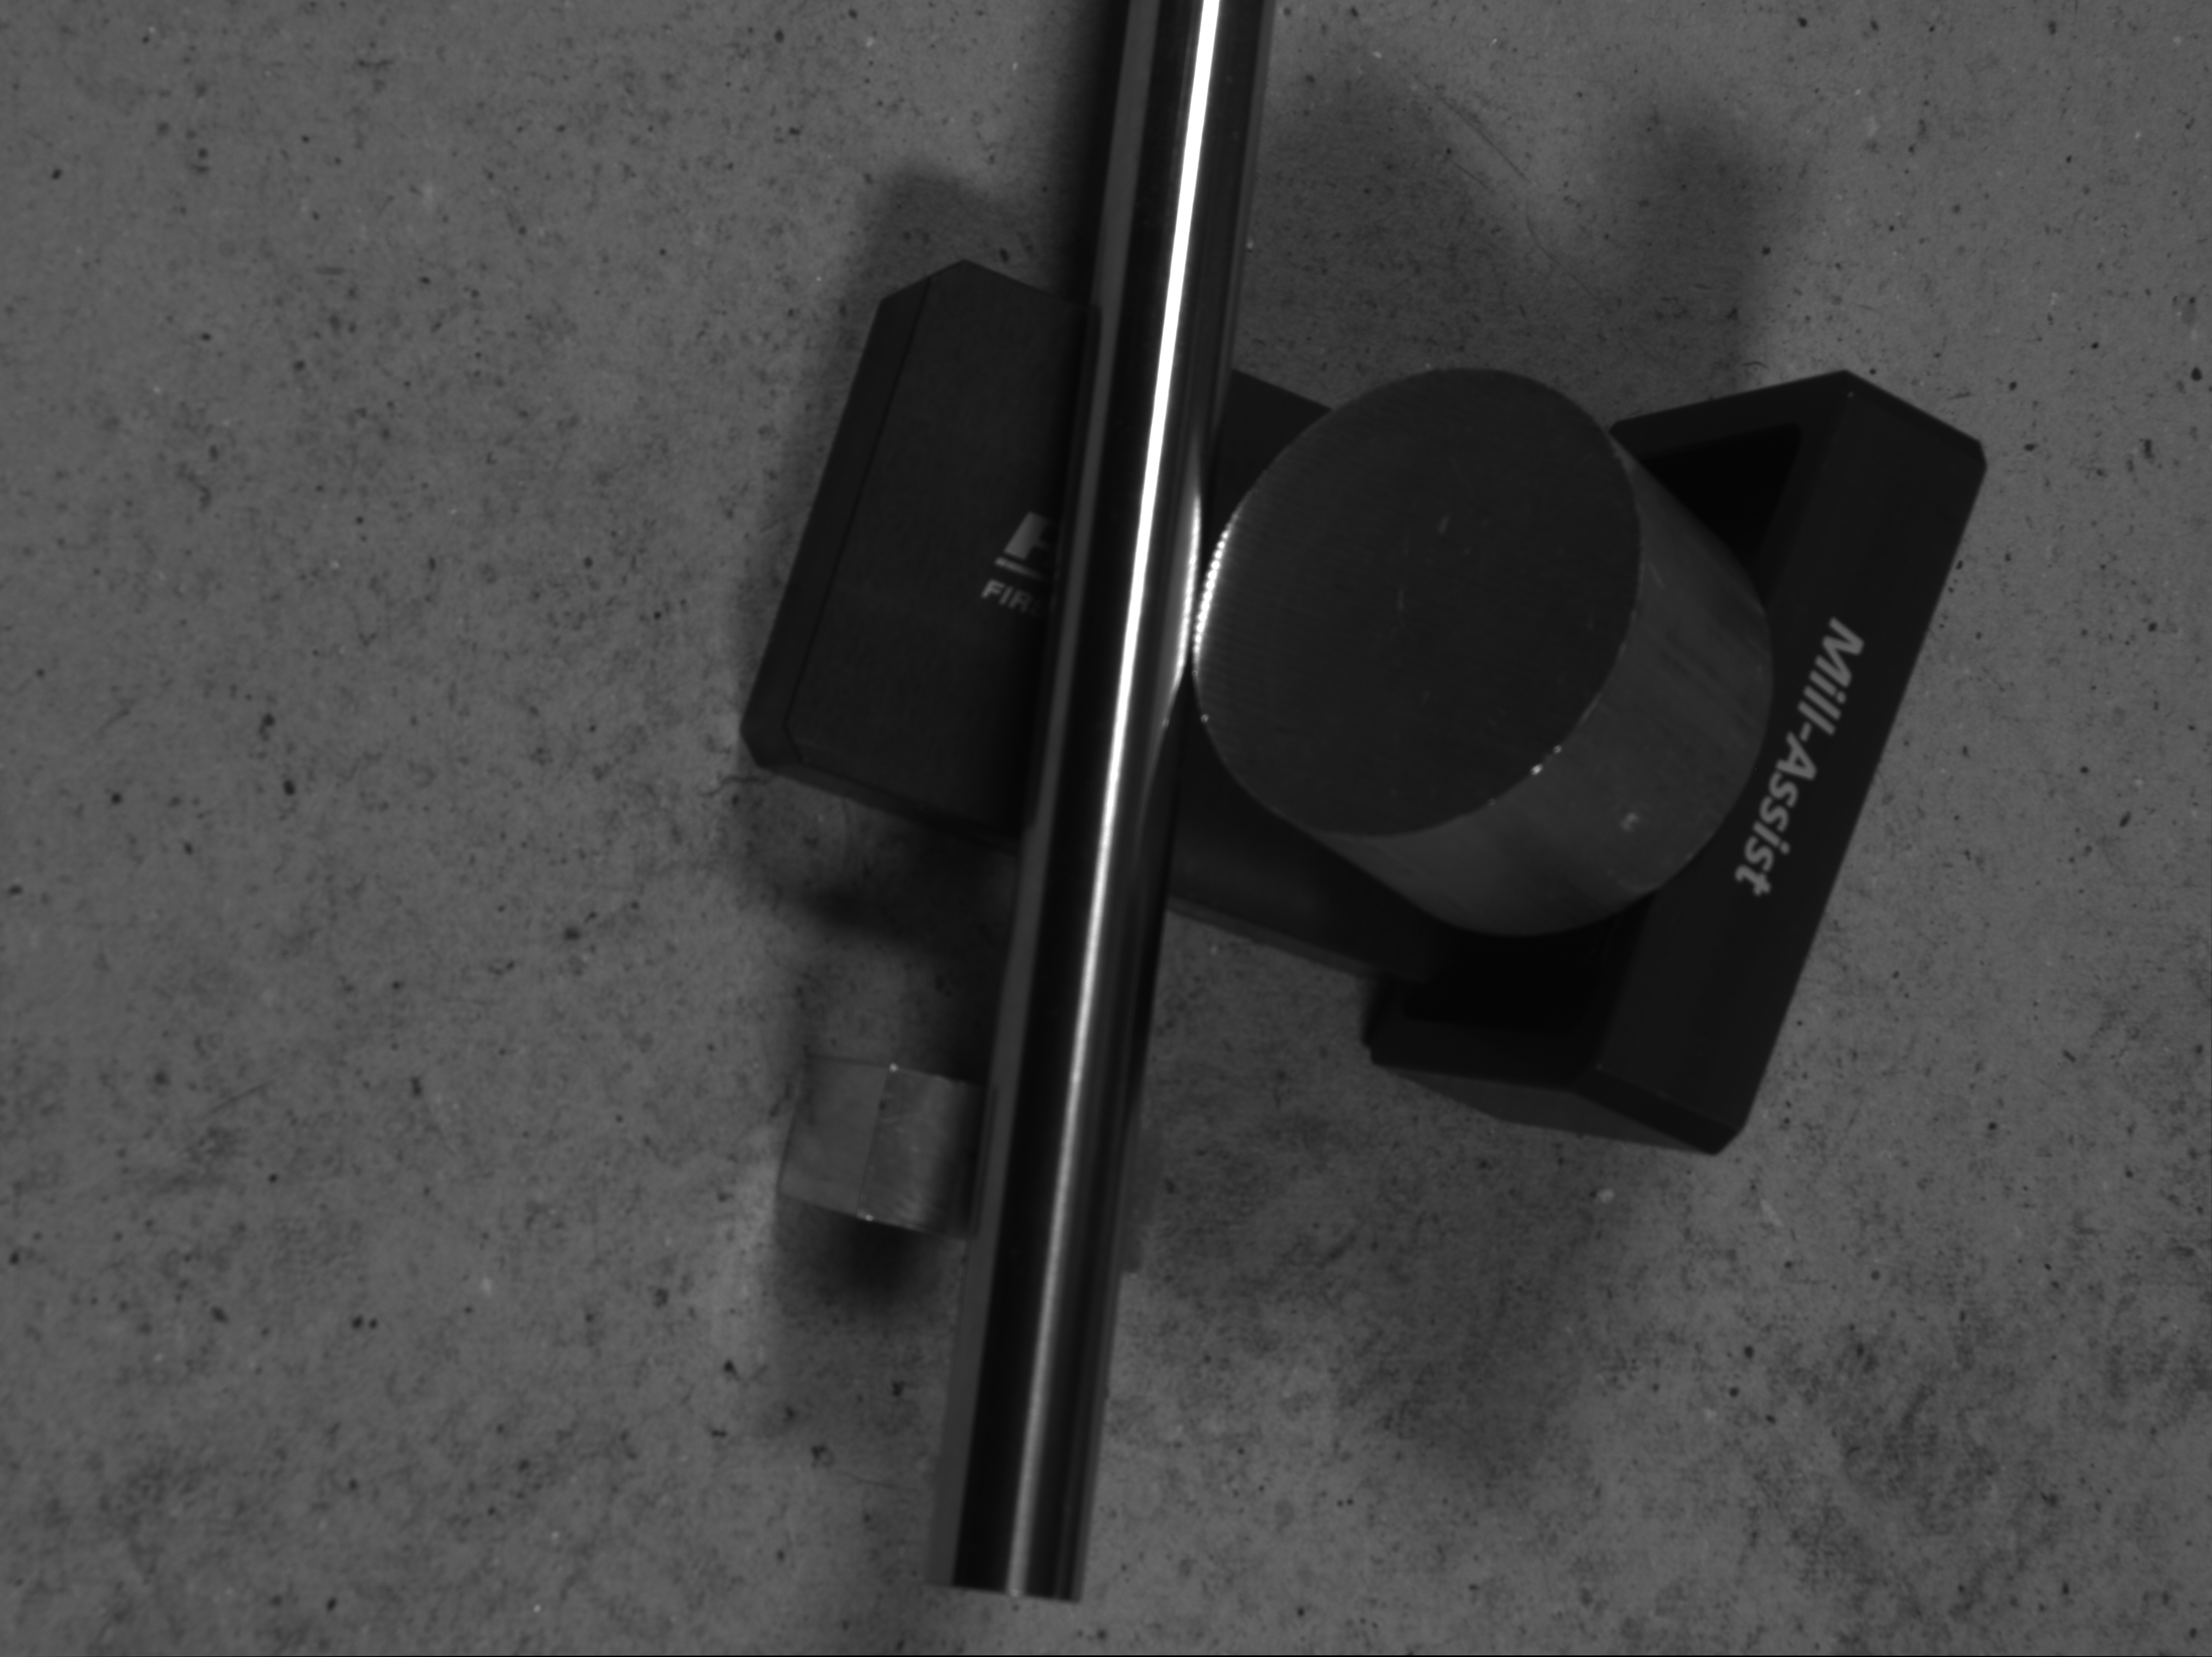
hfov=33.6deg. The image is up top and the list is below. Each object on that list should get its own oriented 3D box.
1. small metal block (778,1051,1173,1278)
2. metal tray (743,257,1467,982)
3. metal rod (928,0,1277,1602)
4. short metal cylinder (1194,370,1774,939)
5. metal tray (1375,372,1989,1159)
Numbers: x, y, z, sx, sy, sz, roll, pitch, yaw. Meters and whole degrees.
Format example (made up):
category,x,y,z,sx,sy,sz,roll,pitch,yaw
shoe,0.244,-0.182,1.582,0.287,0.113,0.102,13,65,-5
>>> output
category,x,y,z,sx,sy,sz,roll,pitch,yaw
small metal block,-0.023,0.057,0.622,0.050,0.050,0.025,14,85,-19
metal tray,0.012,-0.035,0.645,0.130,0.030,0.090,19,83,-19
metal rod,0.003,-0.026,0.603,0.025,0.025,0.300,11,77,-19
short metal cylinder,0.062,-0.028,0.598,0.050,0.080,0.080,31,78,-50
metal tray,0.099,-0.011,0.645,0.030,0.090,0.130,24,82,-18
